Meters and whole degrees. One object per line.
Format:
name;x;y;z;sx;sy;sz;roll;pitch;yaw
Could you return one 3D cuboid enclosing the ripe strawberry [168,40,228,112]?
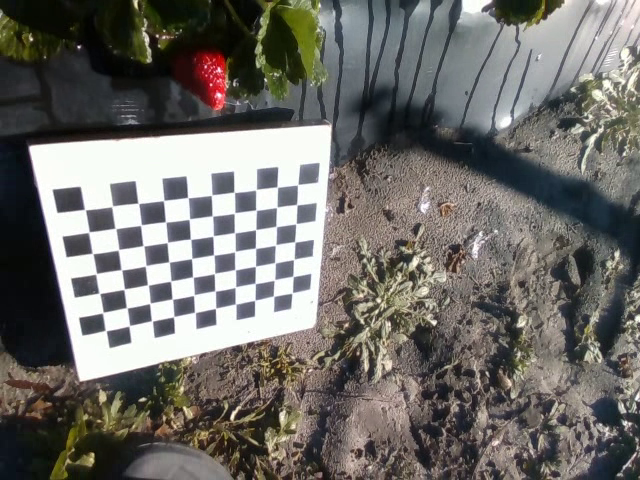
ripe strawberry;-0.105;-0.146;0.511;0.048;0.061;0.044;-16;1;-20
